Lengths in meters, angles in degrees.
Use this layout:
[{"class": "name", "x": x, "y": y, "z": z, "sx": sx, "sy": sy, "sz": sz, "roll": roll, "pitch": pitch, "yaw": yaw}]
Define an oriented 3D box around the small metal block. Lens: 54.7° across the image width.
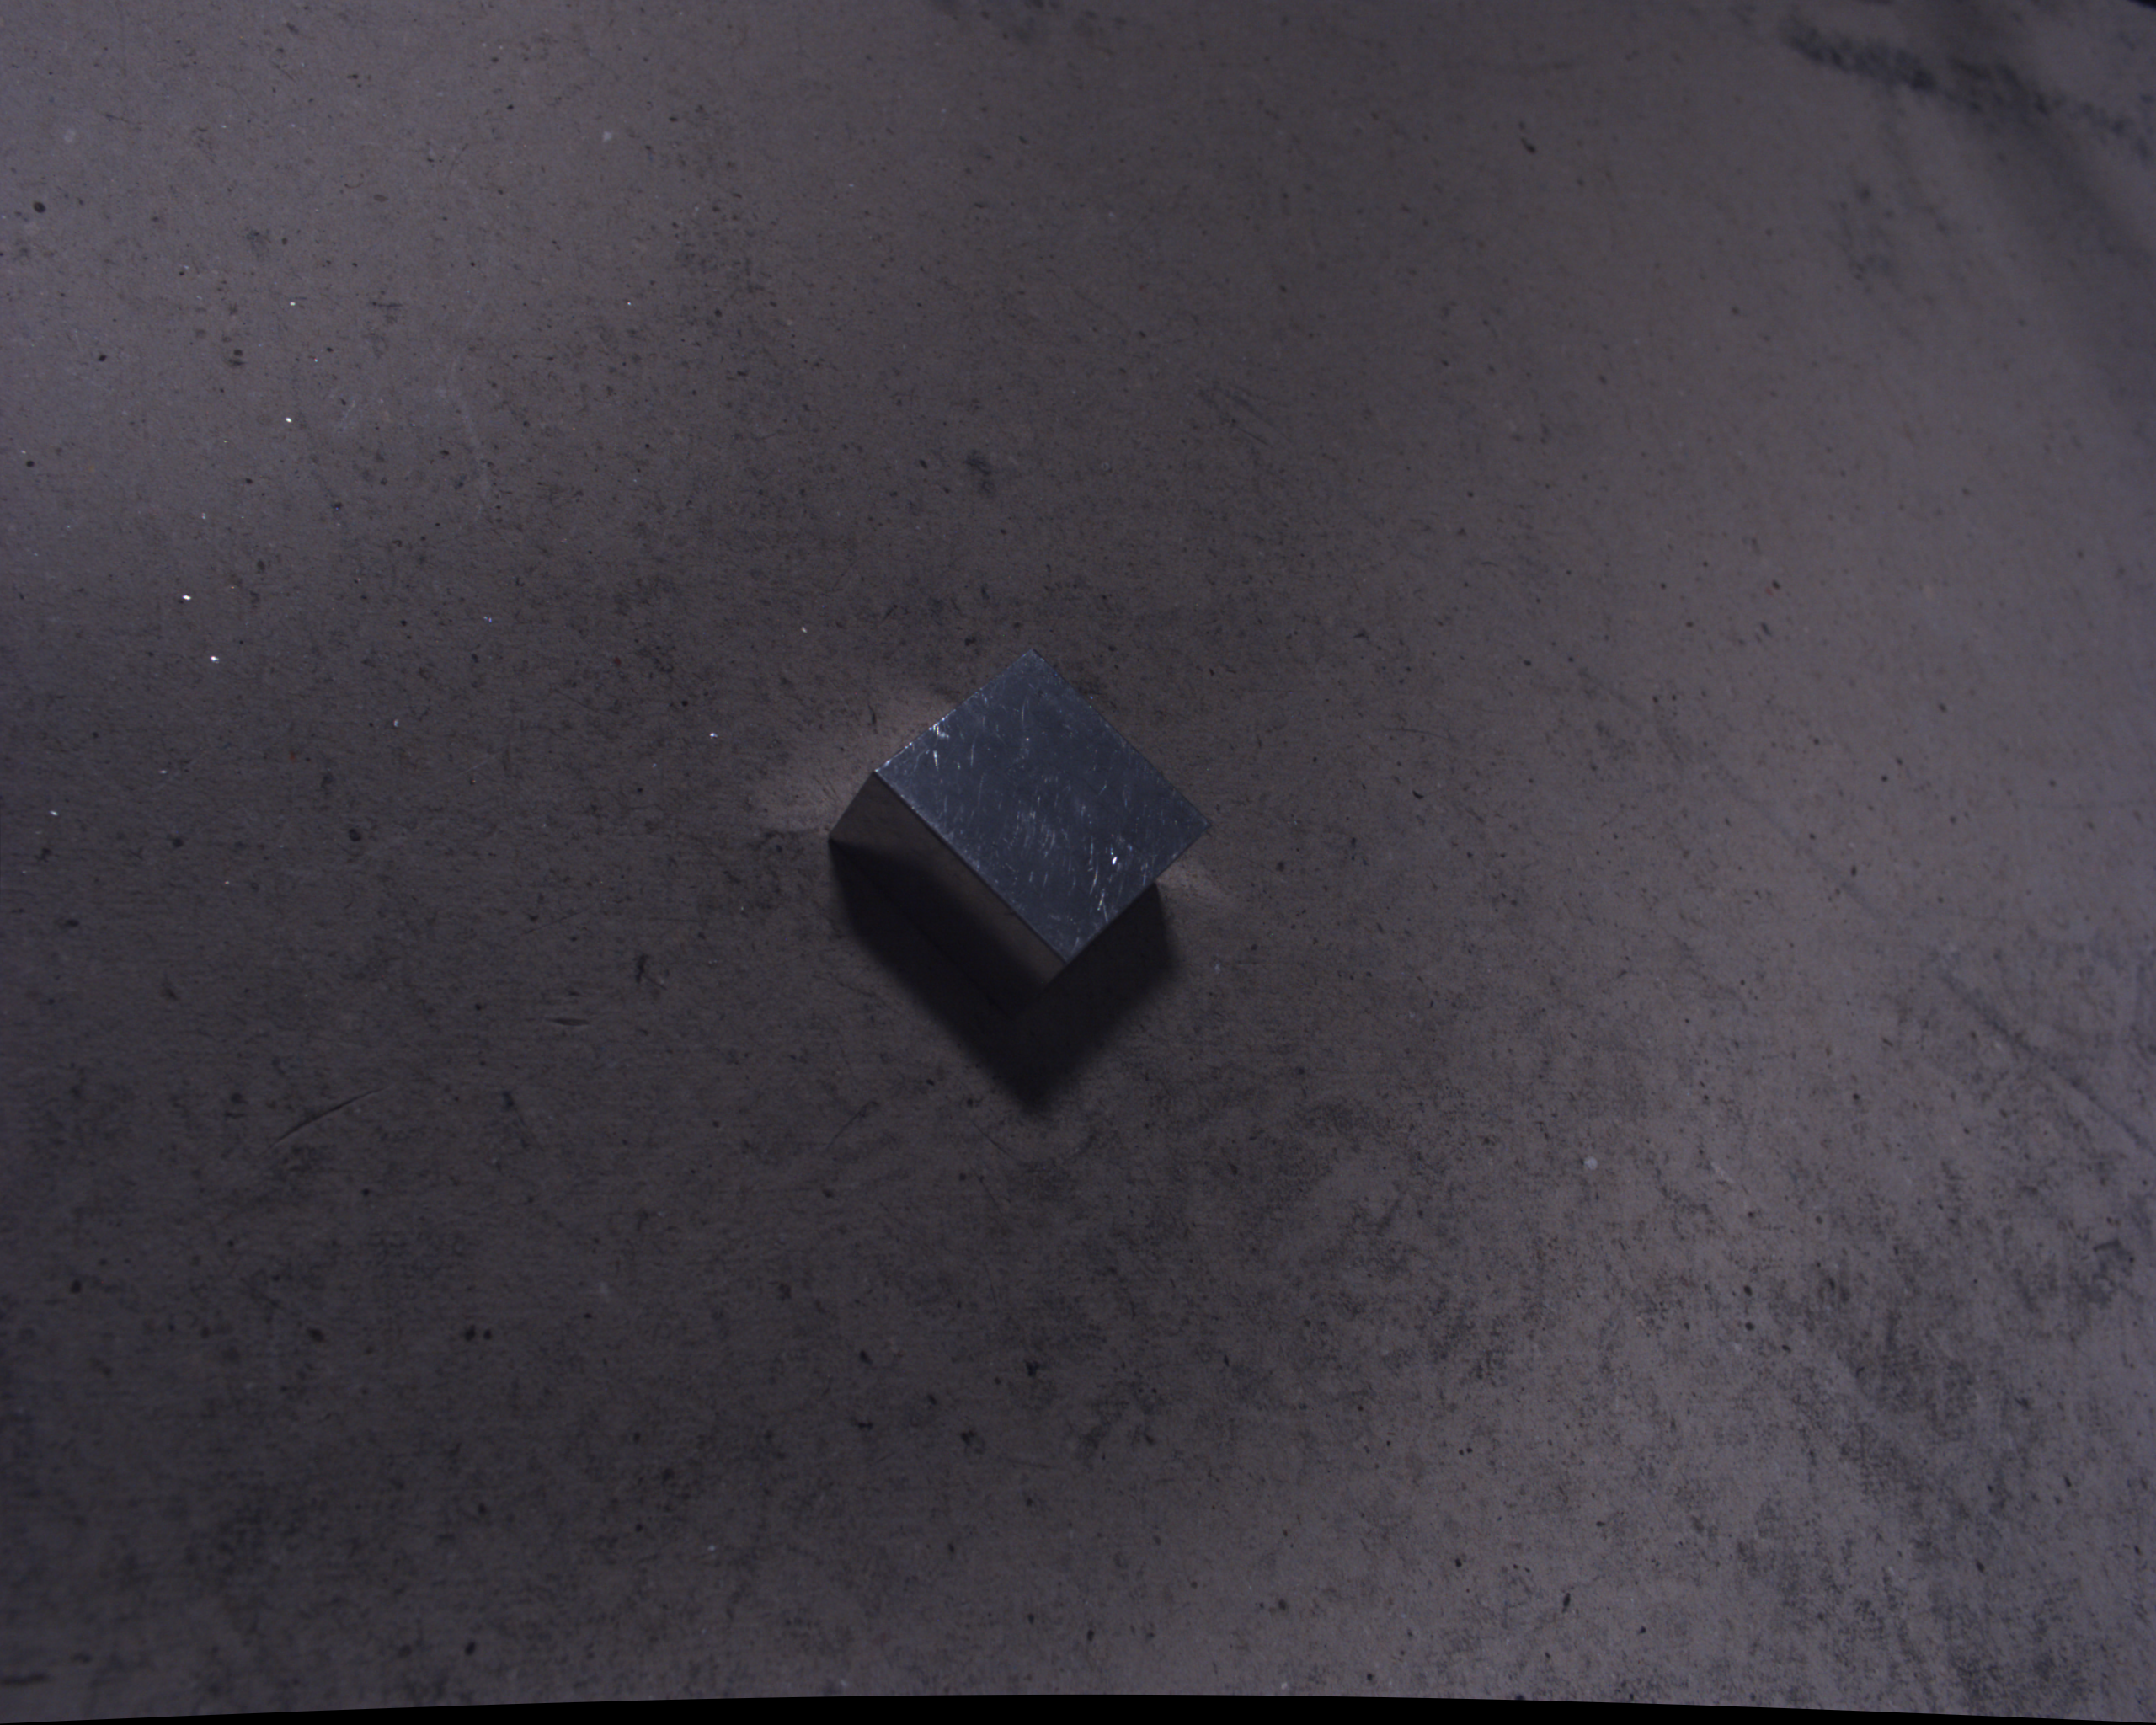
[{"class": "small metal block", "x": -0.011, "y": -0.006, "z": 0.405, "sx": 0.050, "sy": 0.025, "sz": 0.050, "roll": 45, "pitch": 51, "yaw": 3}]
